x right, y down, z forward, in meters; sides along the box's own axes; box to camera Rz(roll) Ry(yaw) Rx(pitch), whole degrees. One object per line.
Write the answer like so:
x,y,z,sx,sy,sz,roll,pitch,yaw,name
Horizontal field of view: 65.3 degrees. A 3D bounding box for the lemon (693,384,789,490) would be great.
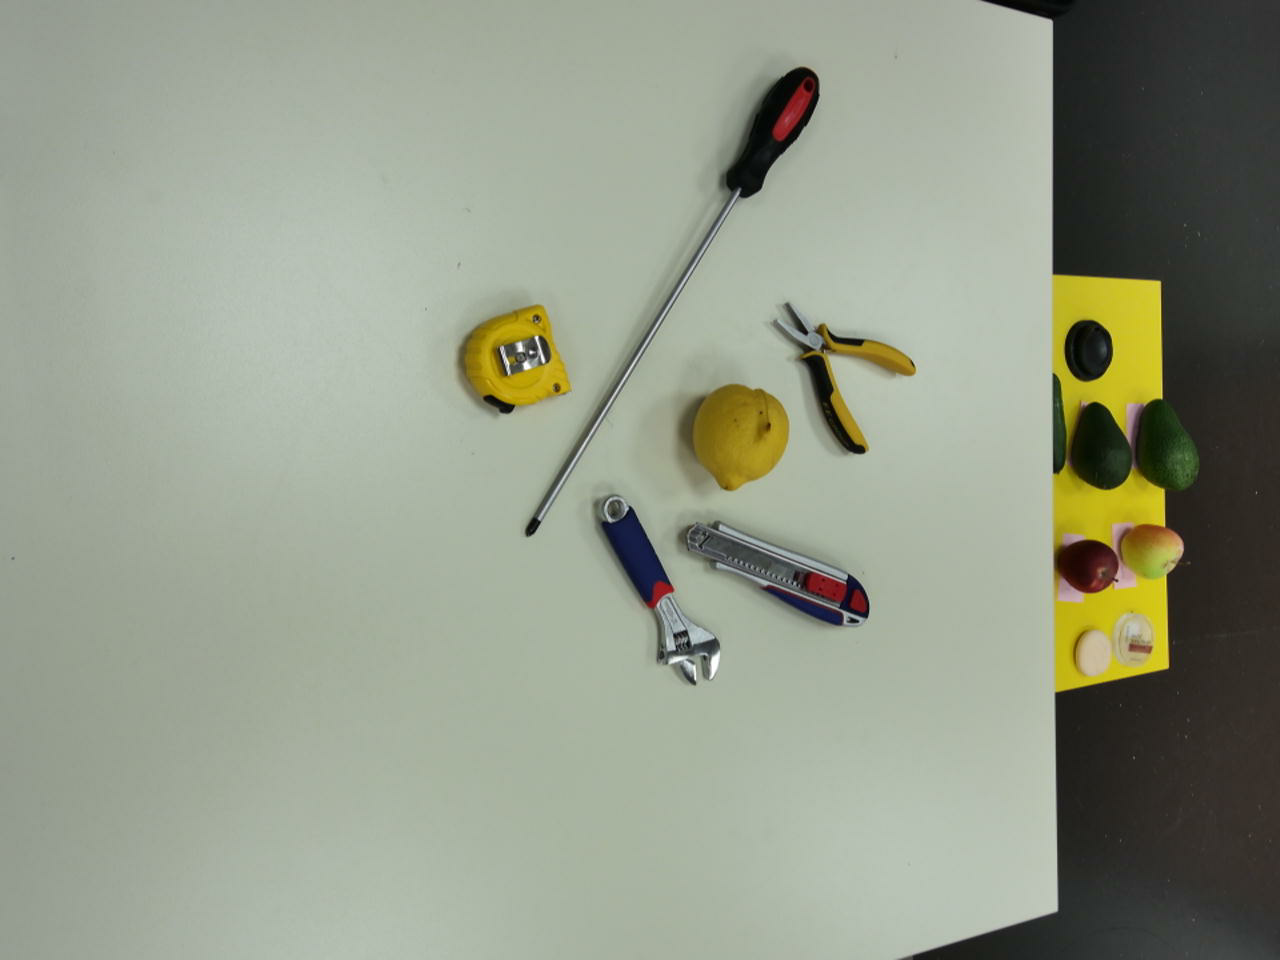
0.074,-0.034,0.716,0.071,0.071,0.070,-37,107,-23,lemon
